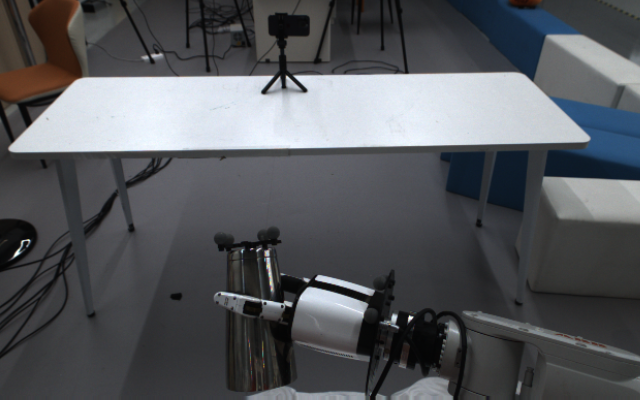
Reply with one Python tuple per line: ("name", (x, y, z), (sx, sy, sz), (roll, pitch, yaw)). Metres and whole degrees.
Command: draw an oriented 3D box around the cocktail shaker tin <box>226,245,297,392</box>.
("cocktail shaker tin", (-0.083, 0.152, 0.635), (0.093, 0.170, 0.093), (-6, -7, -1))
